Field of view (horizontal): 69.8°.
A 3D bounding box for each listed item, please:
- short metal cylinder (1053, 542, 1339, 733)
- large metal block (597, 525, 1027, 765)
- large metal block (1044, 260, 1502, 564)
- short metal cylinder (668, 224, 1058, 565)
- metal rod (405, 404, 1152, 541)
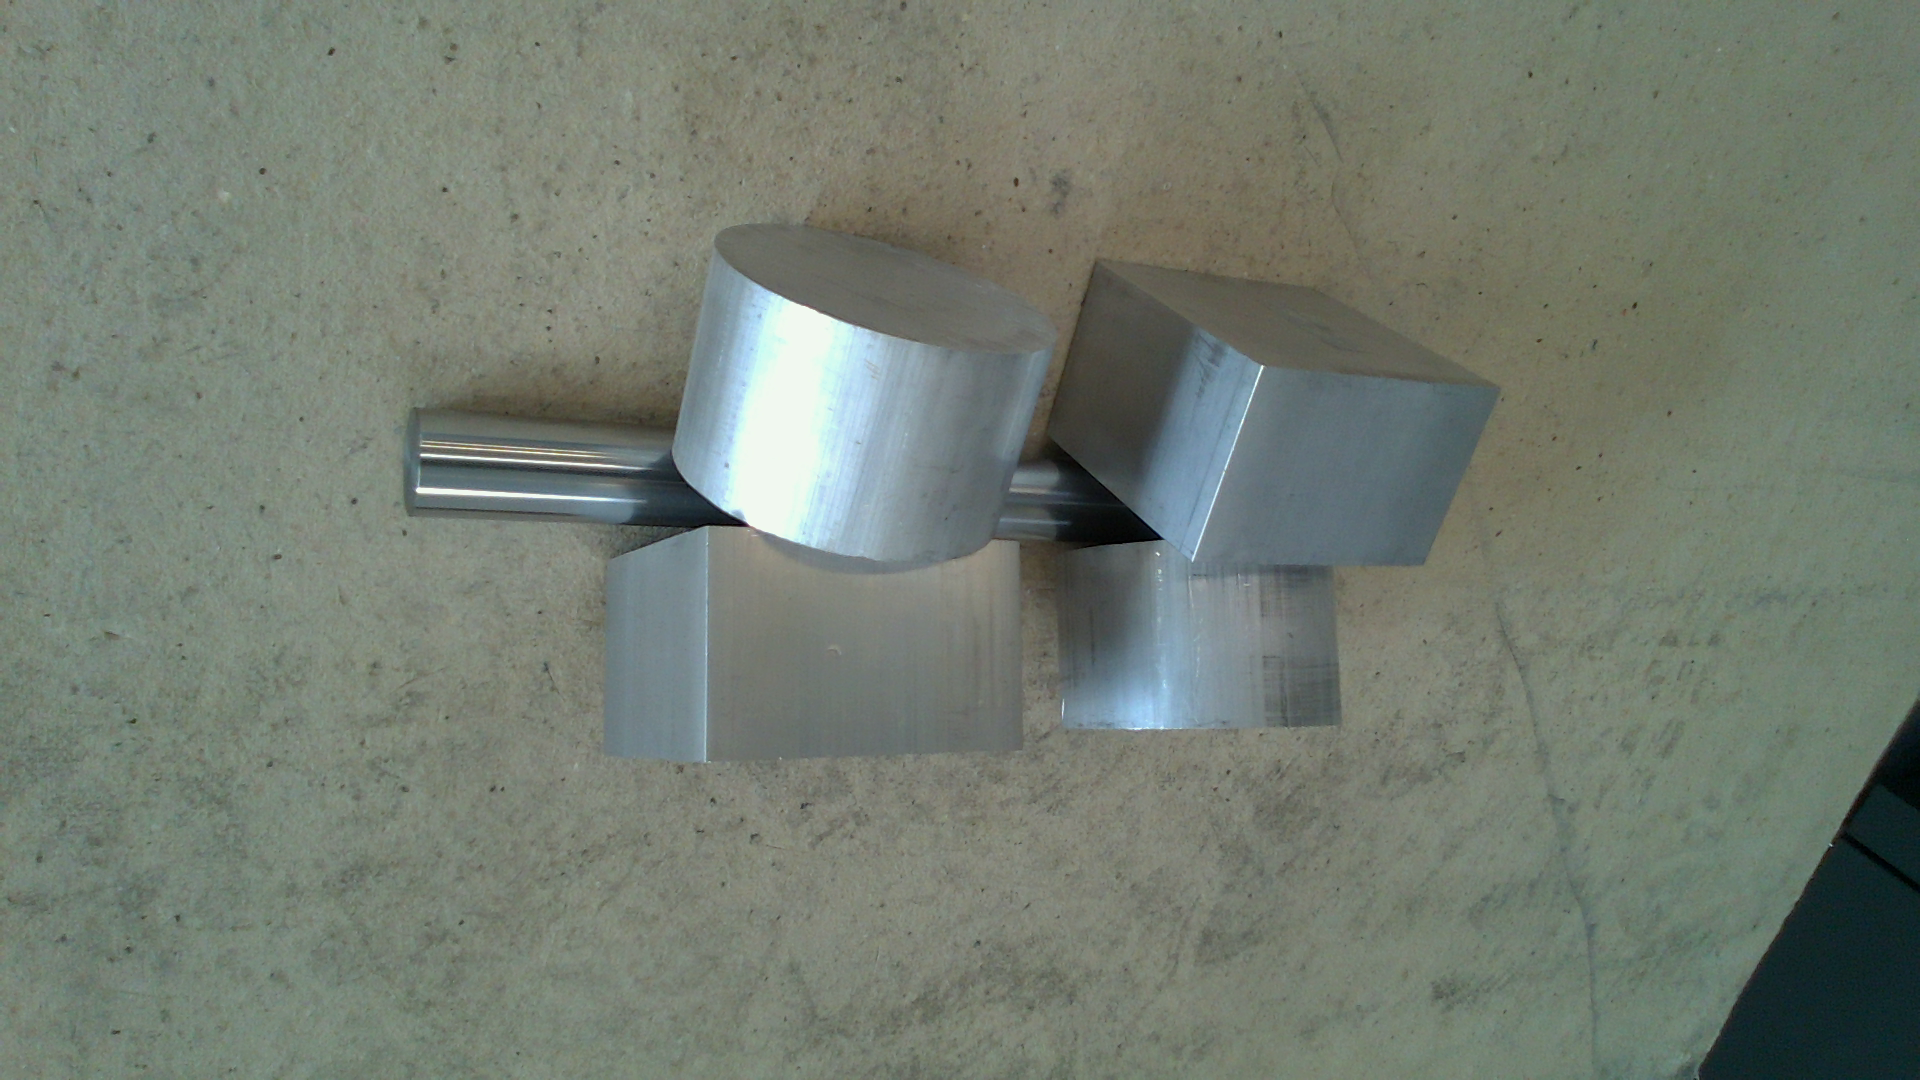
[{"bbox_3d":[0.068,0.029,0.401,0.080,0.080,0.050,2,83,-29],"label":"short metal cylinder"},{"bbox_3d":[-0.039,0.027,0.341,0.080,0.080,0.050,2,83,-30],"label":"large metal block"},{"bbox_3d":[0.082,-0.035,0.376,0.080,0.080,0.050,1,118,-29],"label":"large metal block"},{"bbox_3d":[-0.023,-0.036,0.319,0.080,0.080,0.050,3,117,-30],"label":"short metal cylinder"},{"bbox_3d":[0.006,-0.014,0.387,0.301,0.025,0.025,2,117,-29],"label":"metal rod"}]
